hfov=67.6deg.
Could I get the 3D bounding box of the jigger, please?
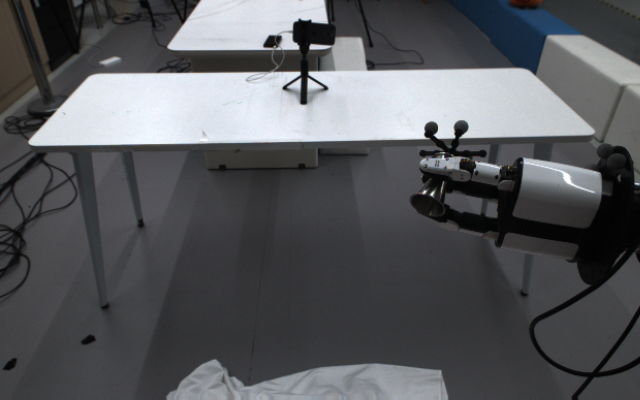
[{"bbox_3d":[0.141,-0.023,0.585,0.043,0.043,0.071,19,61,23],"label":"jigger"}]
